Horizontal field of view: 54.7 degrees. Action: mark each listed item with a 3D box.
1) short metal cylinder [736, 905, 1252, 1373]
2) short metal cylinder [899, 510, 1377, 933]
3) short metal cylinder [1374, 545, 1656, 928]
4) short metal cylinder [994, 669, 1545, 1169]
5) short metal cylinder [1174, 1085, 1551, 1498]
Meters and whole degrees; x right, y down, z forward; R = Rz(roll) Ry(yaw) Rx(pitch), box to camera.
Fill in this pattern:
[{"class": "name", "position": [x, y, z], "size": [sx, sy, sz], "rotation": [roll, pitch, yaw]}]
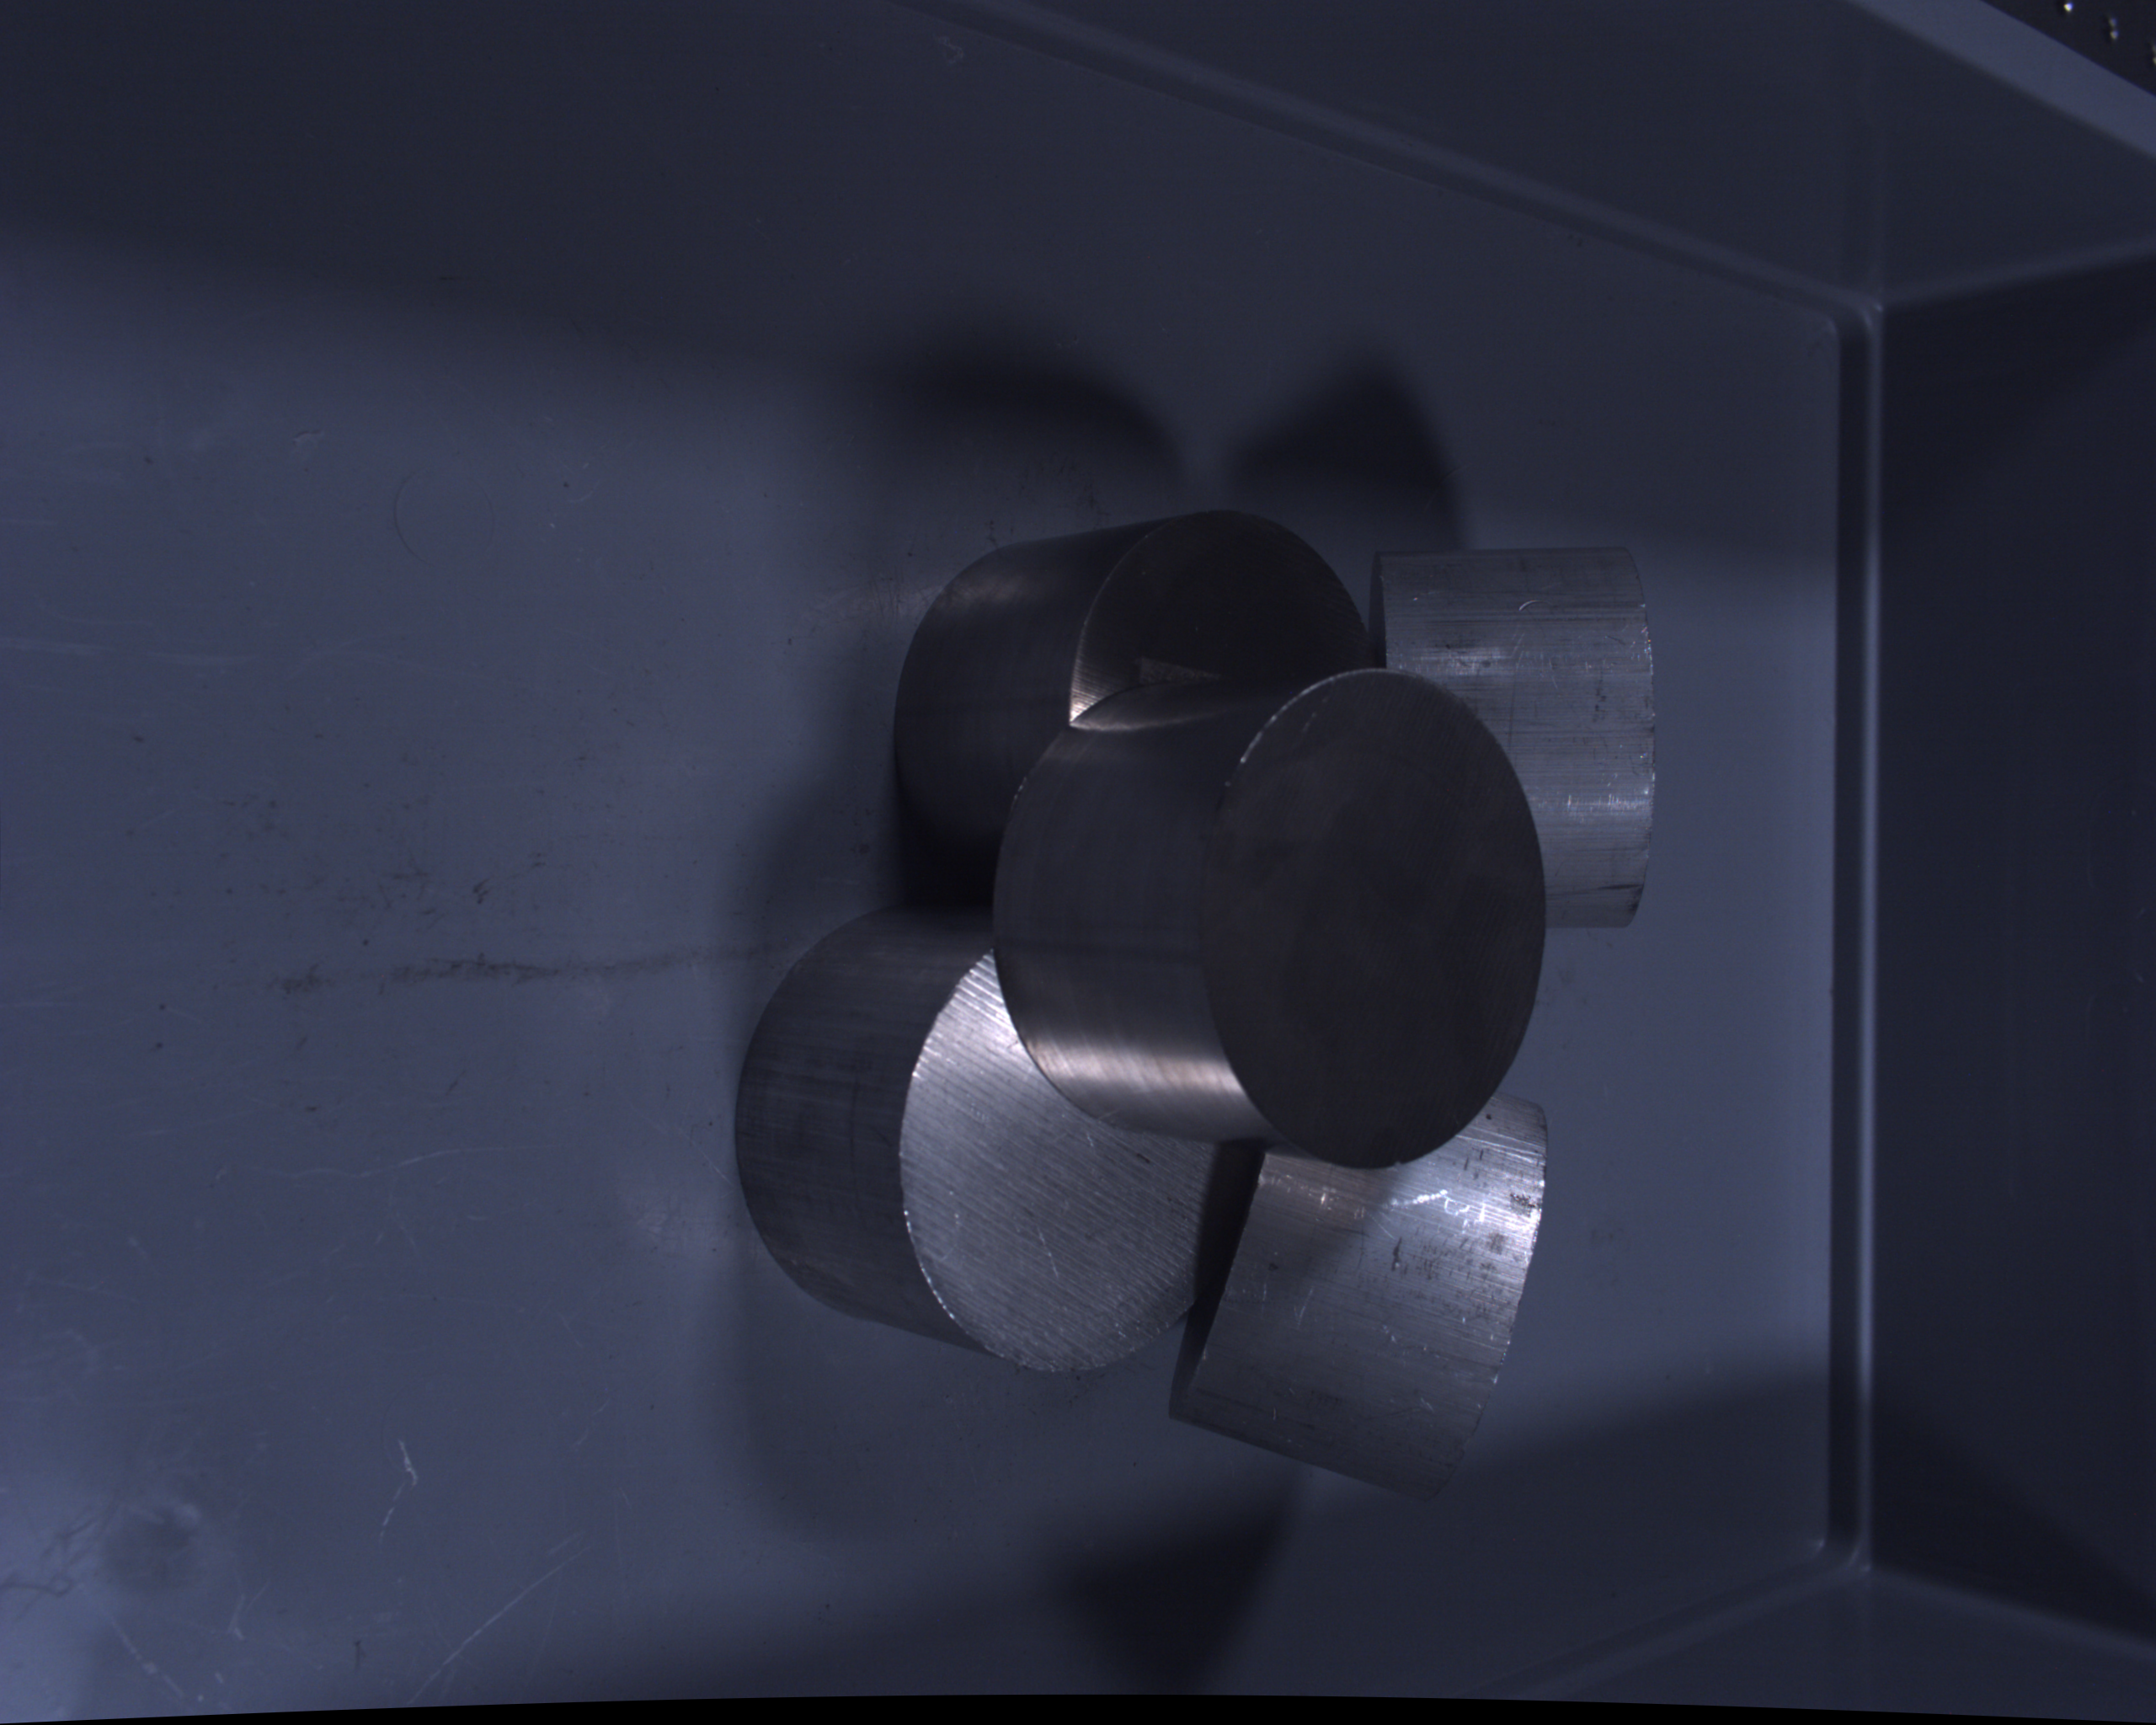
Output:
[{"class": "short metal cylinder", "position": [-0.014, 0.048, 0.379], "size": [0.081, 0.050, 0.079], "rotation": [0, 90, -40]}, {"class": "short metal cylinder", "position": [0.013, -0.025, 0.401], "size": [0.081, 0.050, 0.079], "rotation": [0, 90, -40]}, {"class": "short metal cylinder", "position": [0.089, -0.026, 0.438], "size": [0.080, 0.050, 0.079], "rotation": [-3, 92, -84]}, {"class": "short metal cylinder", "position": [0.033, 0.009, 0.351], "size": [0.081, 0.050, 0.079], "rotation": [0, 90, -40]}, {"class": "short metal cylinder", "position": [0.054, 0.077, 0.408], "size": [0.050, 0.080, 0.080], "rotation": [18, 75, 3]}]
